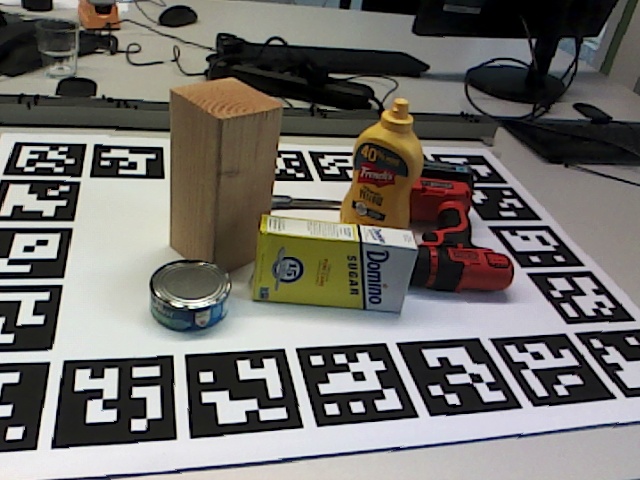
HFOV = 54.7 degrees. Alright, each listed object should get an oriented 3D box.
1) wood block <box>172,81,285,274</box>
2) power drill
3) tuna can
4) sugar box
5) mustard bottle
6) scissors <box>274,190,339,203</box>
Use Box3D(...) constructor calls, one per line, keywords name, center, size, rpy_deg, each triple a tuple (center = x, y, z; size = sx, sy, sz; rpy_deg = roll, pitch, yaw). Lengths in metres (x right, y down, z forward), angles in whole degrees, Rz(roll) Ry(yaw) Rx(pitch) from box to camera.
Box3D(name="wood block", center=(-0.114, -0.068, 0.726), size=(0.090, 0.206, 0.090), rpy_deg=(-22, 47, -37))
Box3D(name="power drill", center=(0.137, -0.011, 0.821), size=(0.184, 0.057, 0.187), rpy_deg=(7, 42, -4))
Box3D(name="tuna can", center=(-0.140, 0.056, 0.673), size=(0.085, 0.033, 0.086), rpy_deg=(7, 36, -6))
Box3D(name="sugar box", center=(0.021, 0.030, 0.708), size=(0.176, 0.093, 0.045), rpy_deg=(8, 32, -6))
Box3D(name="mustard bottle", center=(0.088, -0.088, 0.815), size=(0.097, 0.191, 0.058), rpy_deg=(30, 41, 24))
Box3D(name="scissors", center=(-0.070, -0.060, 0.873), size=(0.202, 0.016, 0.088), rpy_deg=(1, 32, -13))
